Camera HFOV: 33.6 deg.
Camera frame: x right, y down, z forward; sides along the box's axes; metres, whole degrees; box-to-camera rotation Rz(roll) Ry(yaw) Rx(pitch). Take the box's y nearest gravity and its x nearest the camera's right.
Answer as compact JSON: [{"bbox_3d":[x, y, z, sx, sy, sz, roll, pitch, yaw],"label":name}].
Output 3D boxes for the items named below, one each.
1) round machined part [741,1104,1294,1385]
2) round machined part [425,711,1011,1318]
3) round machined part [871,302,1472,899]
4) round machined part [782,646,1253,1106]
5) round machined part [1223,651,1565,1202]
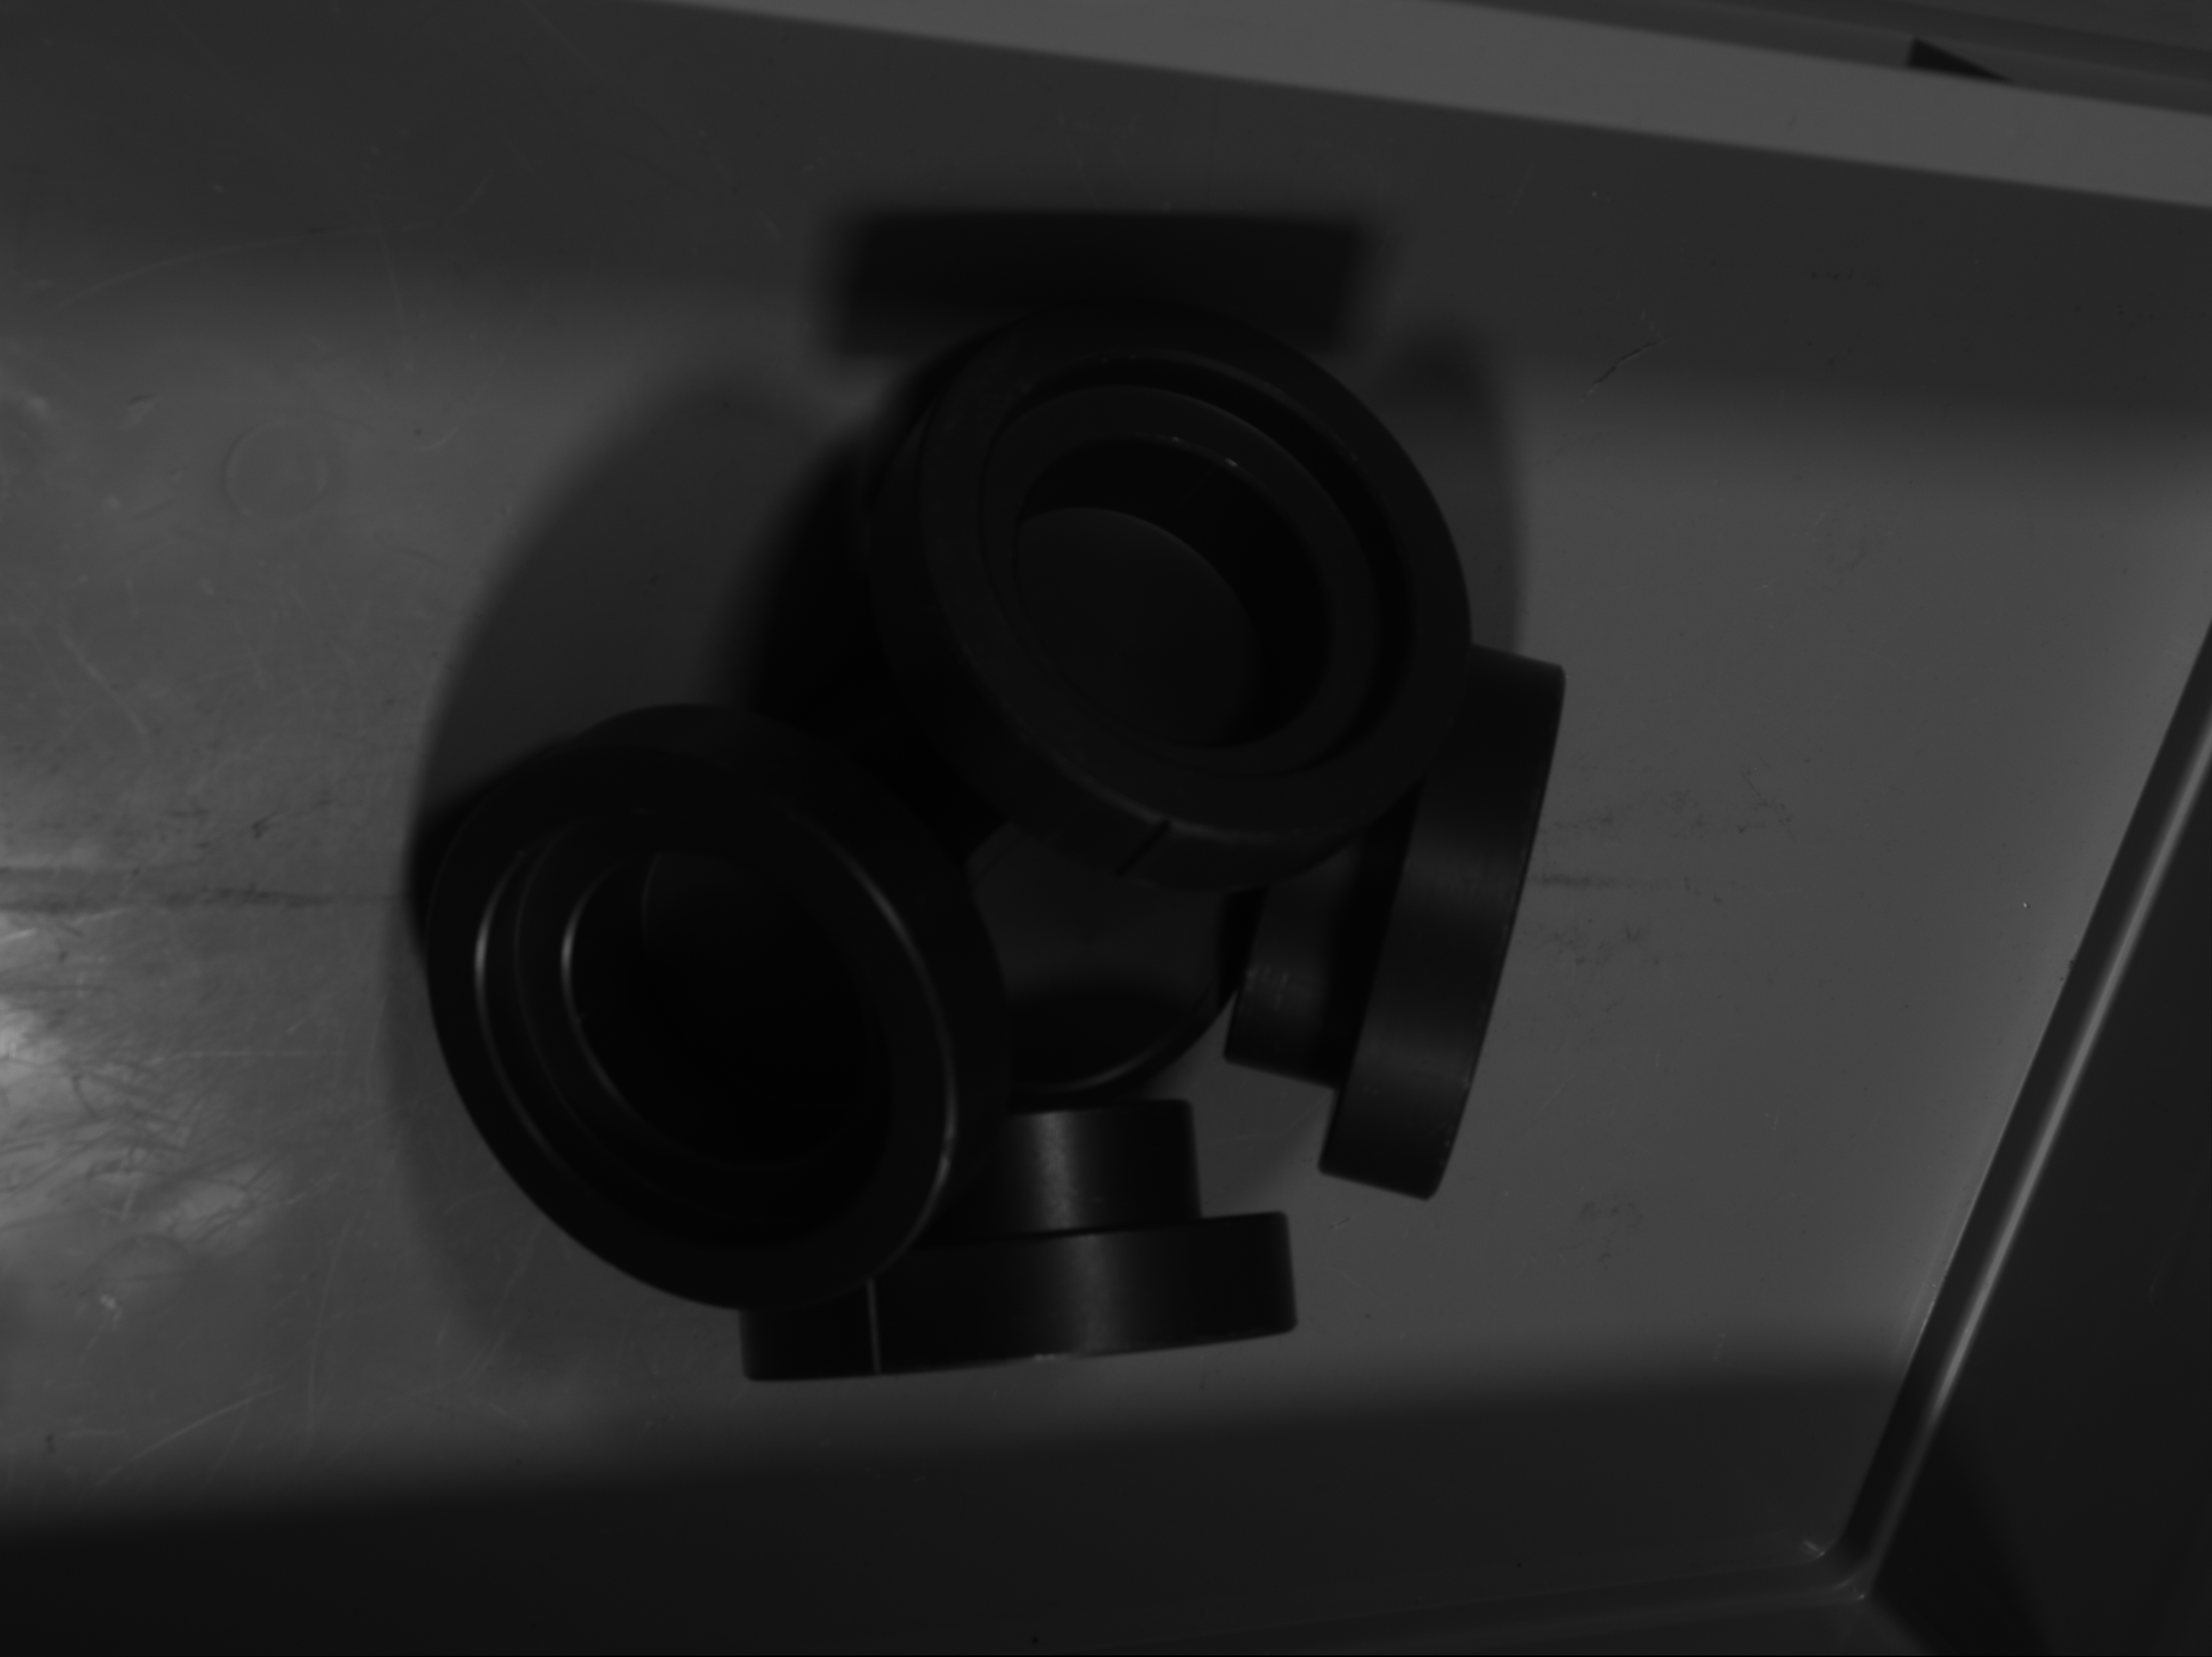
[{"bbox_3d":[-0.017,0.073,0.649,0.098,0.098,0.042,-1,82,-30],"label":"round machined part"},{"bbox_3d":[-0.059,0.027,0.596,0.042,0.098,0.098,-40,144,-55],"label":"round machined part"},{"bbox_3d":[0.007,-0.033,0.597,0.098,0.098,0.042,-4,158,-28],"label":"round machined part"},{"bbox_3d":[-0.012,0.011,0.637,0.098,0.042,0.098,-15,125,-22],"label":"round machined part"},{"bbox_3d":[0.049,0.014,0.653,0.042,0.098,0.098,14,116,3],"label":"round machined part"}]
